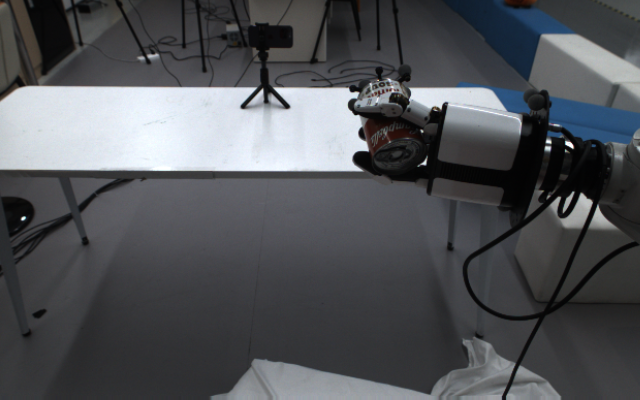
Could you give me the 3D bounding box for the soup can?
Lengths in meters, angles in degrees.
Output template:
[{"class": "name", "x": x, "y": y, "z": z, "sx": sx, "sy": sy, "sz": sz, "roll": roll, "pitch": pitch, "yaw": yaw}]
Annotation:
[{"class": "soup can", "x": 0.088, "y": -0.092, "z": 0.599, "sx": 0.067, "sy": 0.067, "sz": 0.101, "roll": -5, "pitch": 58, "yaw": -10}]
